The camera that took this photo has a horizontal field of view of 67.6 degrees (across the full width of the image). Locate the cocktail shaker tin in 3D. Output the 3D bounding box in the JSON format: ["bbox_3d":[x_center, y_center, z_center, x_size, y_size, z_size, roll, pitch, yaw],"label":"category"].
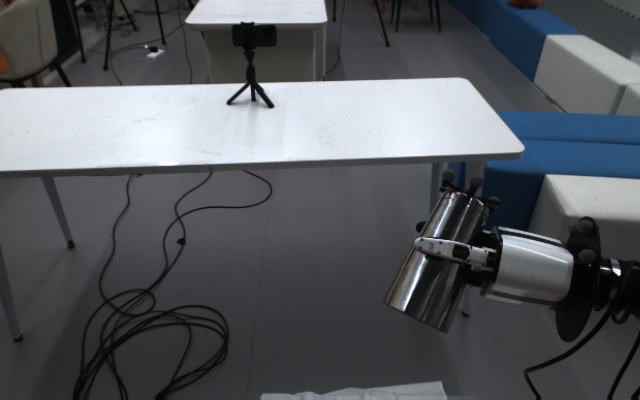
[{"bbox_3d":[0.162,0.074,0.639,0.093,0.093,0.170,21,81,25],"label":"cocktail shaker tin"}]
